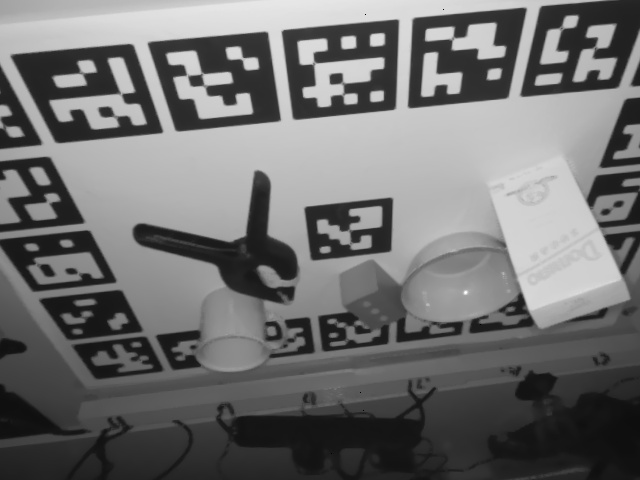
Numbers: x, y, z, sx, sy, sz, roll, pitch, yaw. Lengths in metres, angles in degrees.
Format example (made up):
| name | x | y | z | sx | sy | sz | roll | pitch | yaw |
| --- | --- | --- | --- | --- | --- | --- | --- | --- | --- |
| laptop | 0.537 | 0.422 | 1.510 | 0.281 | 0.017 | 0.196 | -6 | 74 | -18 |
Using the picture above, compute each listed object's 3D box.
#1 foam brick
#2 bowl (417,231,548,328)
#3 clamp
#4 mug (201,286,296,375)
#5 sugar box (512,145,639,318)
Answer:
| name | x | y | z | sx | sy | sz | roll | pitch | yaw |
| --- | --- | --- | --- | --- | --- | --- | --- | --- | --- |
| foam brick | 0.080 | 0.063 | 0.867 | 0.052 | 0.052 | 0.078 | -26 | 133 | 18 |
| bowl | 0.195 | 0.040 | 0.847 | 0.162 | 0.055 | 0.160 | -4 | 137 | -3 |
| clamp | -0.063 | 0.011 | 0.785 | 0.164 | 0.037 | 0.203 | -24 | 134 | 14 |
| mug | -0.086 | 0.113 | 0.864 | 0.118 | 0.082 | 0.092 | 15 | 133 | -17 |
| sugar box | 0.265 | -0.013 | 0.712 | 0.092 | 0.178 | 0.045 | -22 | 133 | 18 |
